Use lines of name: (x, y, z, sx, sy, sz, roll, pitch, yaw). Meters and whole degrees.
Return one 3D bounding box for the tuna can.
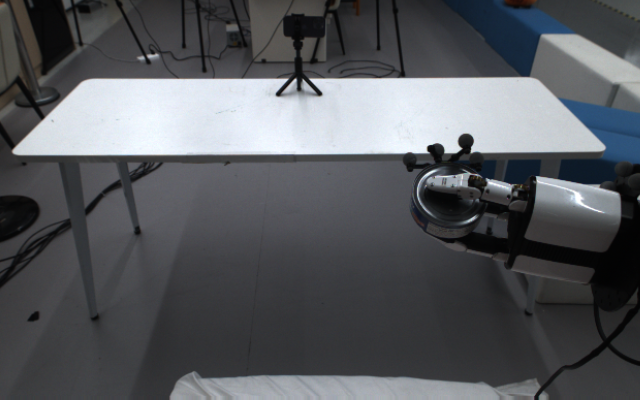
tuna can: (0.148, -0.001, 0.558, 0.085, 0.034, 0.085, -2, 58, 3)
